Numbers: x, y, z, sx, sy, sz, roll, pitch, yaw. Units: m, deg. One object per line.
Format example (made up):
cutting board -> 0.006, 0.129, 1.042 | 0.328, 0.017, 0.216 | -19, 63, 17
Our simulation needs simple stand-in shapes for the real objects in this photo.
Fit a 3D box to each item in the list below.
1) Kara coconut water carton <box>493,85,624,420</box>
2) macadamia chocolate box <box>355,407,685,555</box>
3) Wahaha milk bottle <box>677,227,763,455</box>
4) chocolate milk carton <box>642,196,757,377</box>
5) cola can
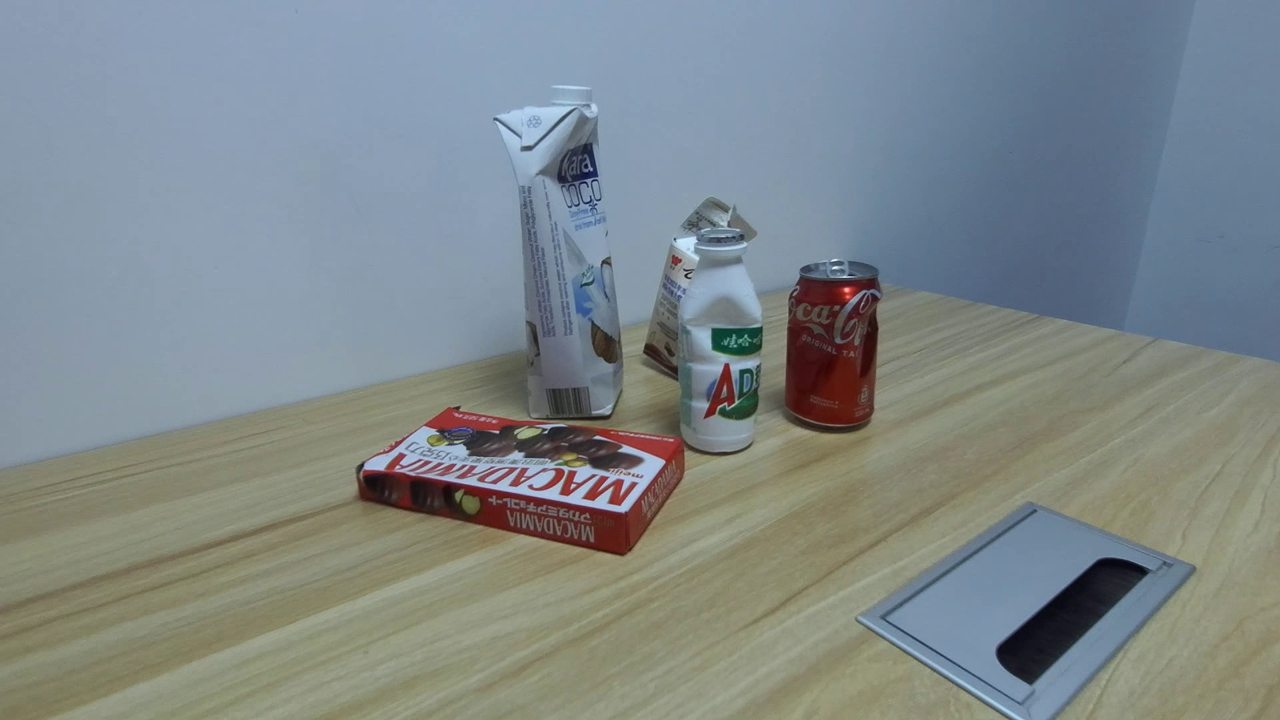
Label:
Kara coconut water carton -> -0.056, -0.079, 0.530 | 0.069, 0.238, 0.115 | -1, 16, 8
macadamia chocolate box -> -0.072, 0.067, 0.438 | 0.182, 0.028, 0.106 | 6, 21, 21
Wahaha milk bottle -> 0.052, -0.012, 0.467 | 0.056, 0.147, 0.056 | 0, 20, 0
chocolate milk carton -> 0.061, -0.060, 0.616 | 0.090, 0.155, 0.076 | -1, 20, -40
cola can -> 0.140, -0.012, 0.510 | 0.066, 0.117, 0.066 | -19, 26, -39
